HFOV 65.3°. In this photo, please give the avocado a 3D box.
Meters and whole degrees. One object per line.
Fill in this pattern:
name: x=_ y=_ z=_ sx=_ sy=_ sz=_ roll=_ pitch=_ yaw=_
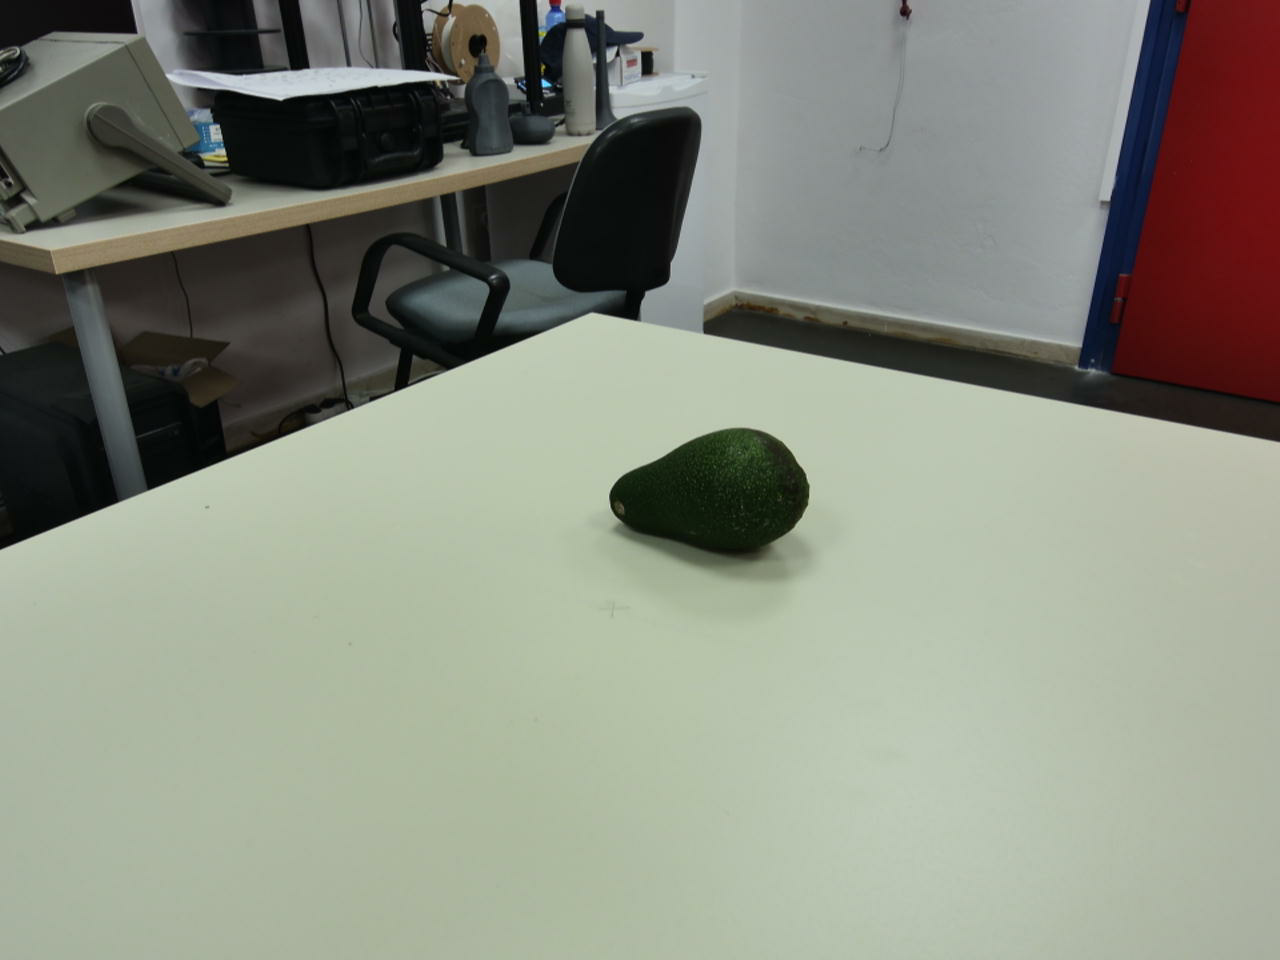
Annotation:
avocado: x=0.046 y=0.002 z=0.607 sx=0.123 sy=0.076 sz=0.074 roll=20 pitch=32 yaw=38
